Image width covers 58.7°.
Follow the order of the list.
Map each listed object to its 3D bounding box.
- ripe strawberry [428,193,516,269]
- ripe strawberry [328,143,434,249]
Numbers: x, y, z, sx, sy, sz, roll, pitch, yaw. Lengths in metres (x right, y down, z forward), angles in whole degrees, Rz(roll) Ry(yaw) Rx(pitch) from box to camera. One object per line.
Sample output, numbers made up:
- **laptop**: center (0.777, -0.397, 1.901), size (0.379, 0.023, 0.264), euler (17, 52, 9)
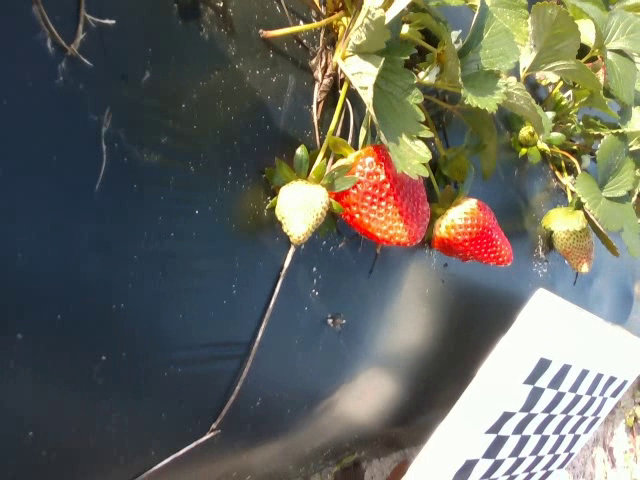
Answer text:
- **ripe strawberry**: center (0.069, -0.002, 0.236), size (0.037, 0.039, 0.033), euler (-43, -22, 8)
- **ripe strawberry**: center (0.024, -0.014, 0.184), size (0.035, 0.036, 0.041), euler (3, -38, -37)
